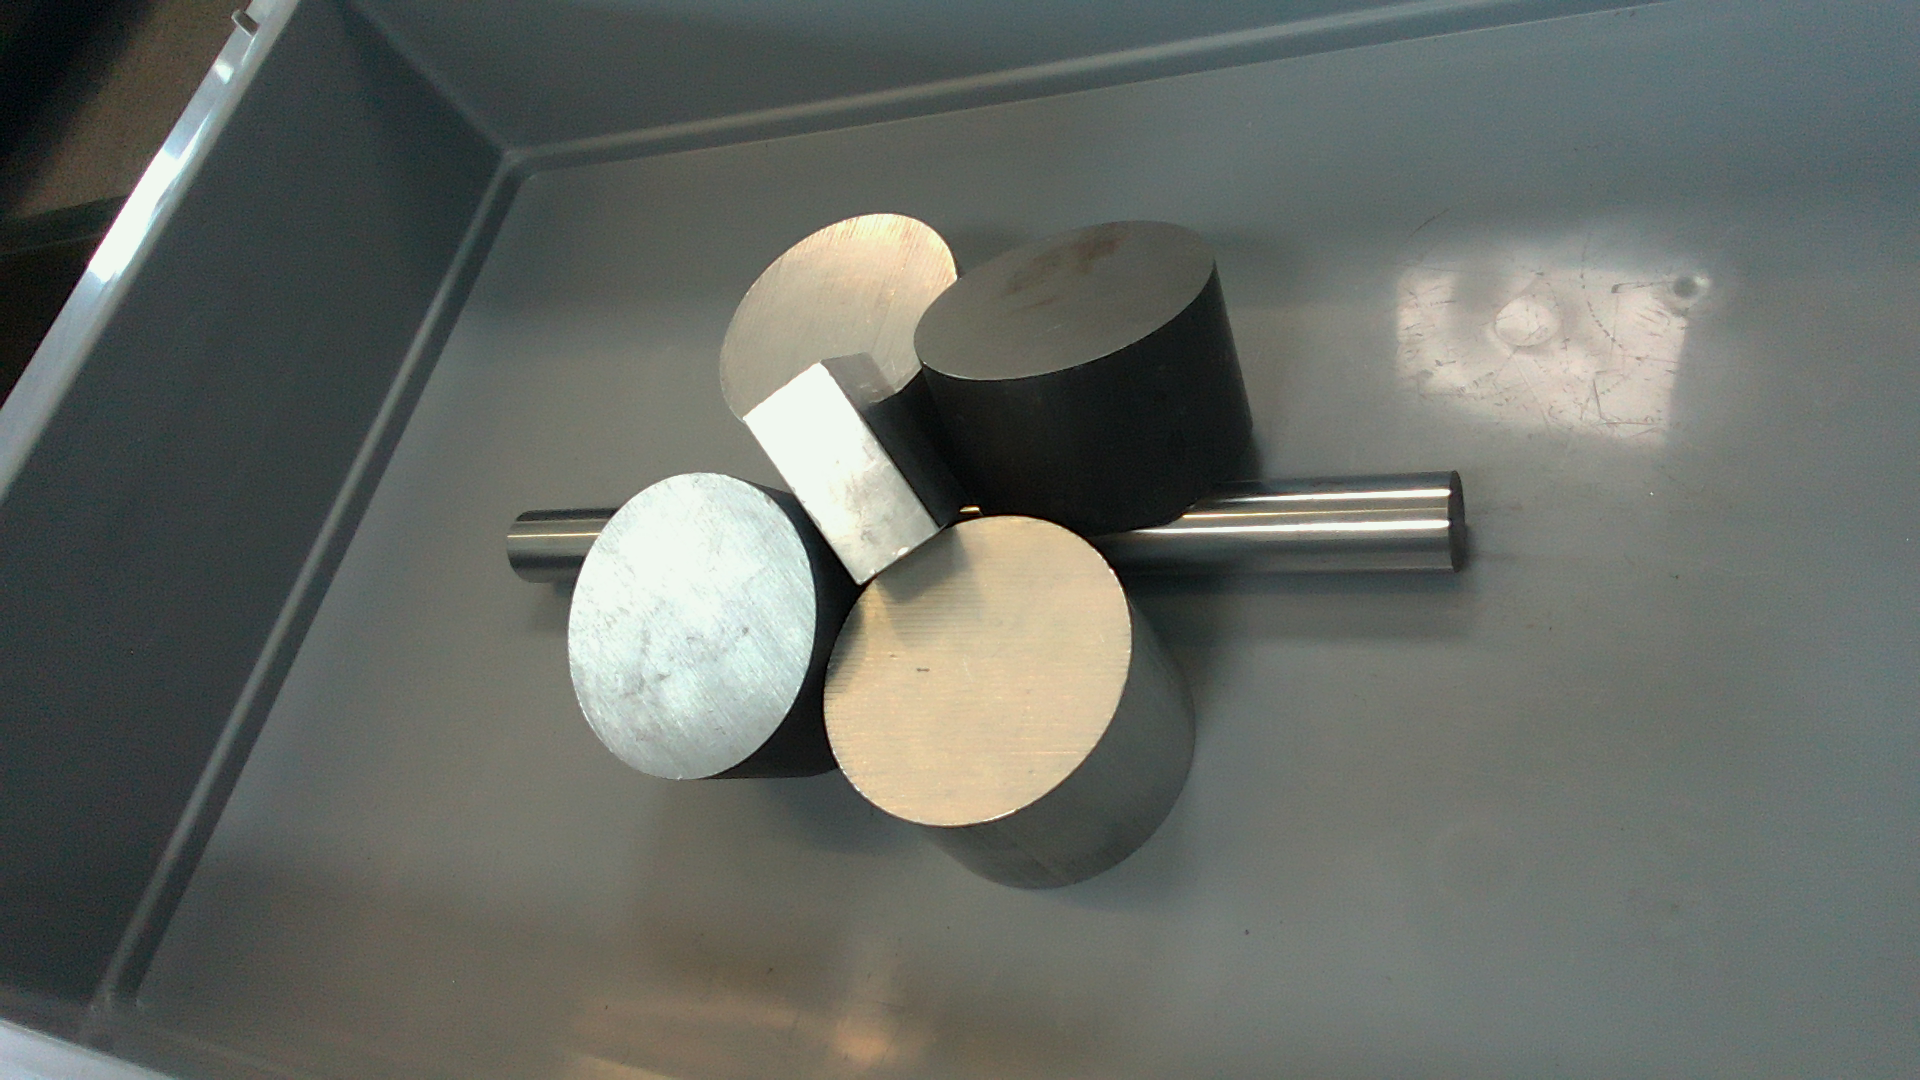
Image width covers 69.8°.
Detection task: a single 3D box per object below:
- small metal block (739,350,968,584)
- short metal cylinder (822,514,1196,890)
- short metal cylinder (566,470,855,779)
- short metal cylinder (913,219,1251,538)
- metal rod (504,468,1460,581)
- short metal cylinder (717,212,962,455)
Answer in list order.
[{"bbox_3d":[-0.025,-0.021,0.356,0.025,0.050,0.050,-34,93,13],"label":"small metal block"},{"bbox_3d":[0.013,0.041,0.344,0.080,0.050,0.080,-13,56,21],"label":"short metal cylinder"},{"bbox_3d":[-0.060,0.025,0.377,0.080,0.050,0.080,-5,79,27],"label":"short metal cylinder"},{"bbox_3d":[0.033,-0.044,0.368,0.080,0.050,0.080,-15,33,10],"label":"short metal cylinder"},{"bbox_3d":[-0.014,-0.002,0.400,0.299,0.025,0.025,-1,61,28],"label":"metal rod"},{"bbox_3d":[-0.027,-0.053,0.423,0.080,0.050,0.080,-13,56,21],"label":"short metal cylinder"}]
